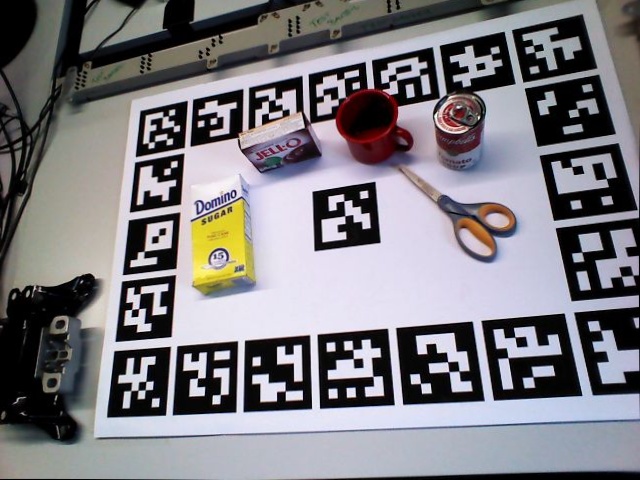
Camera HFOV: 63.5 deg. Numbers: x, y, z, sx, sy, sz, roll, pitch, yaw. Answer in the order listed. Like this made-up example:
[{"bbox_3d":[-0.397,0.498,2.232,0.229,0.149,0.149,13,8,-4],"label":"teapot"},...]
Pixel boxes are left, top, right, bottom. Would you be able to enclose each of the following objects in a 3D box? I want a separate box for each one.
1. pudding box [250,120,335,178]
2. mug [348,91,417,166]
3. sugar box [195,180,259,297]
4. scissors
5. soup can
[{"bbox_3d":[-0.042,-0.143,0.811,0.114,0.090,0.038,-15,74,11],"label":"pudding box"},{"bbox_3d":[0.104,-0.156,0.779,0.093,0.081,0.117,-40,64,3],"label":"mug"},{"bbox_3d":[-0.149,-0.002,0.828,0.093,0.045,0.175,-9,71,16],"label":"sugar box"},{"bbox_3d":[0.203,-0.027,0.739,0.203,0.016,0.088,44,98,23],"label":"scissors"},{"bbox_3d":[0.215,-0.130,0.734,0.068,0.102,0.067,-6,69,15],"label":"soup can"}]
